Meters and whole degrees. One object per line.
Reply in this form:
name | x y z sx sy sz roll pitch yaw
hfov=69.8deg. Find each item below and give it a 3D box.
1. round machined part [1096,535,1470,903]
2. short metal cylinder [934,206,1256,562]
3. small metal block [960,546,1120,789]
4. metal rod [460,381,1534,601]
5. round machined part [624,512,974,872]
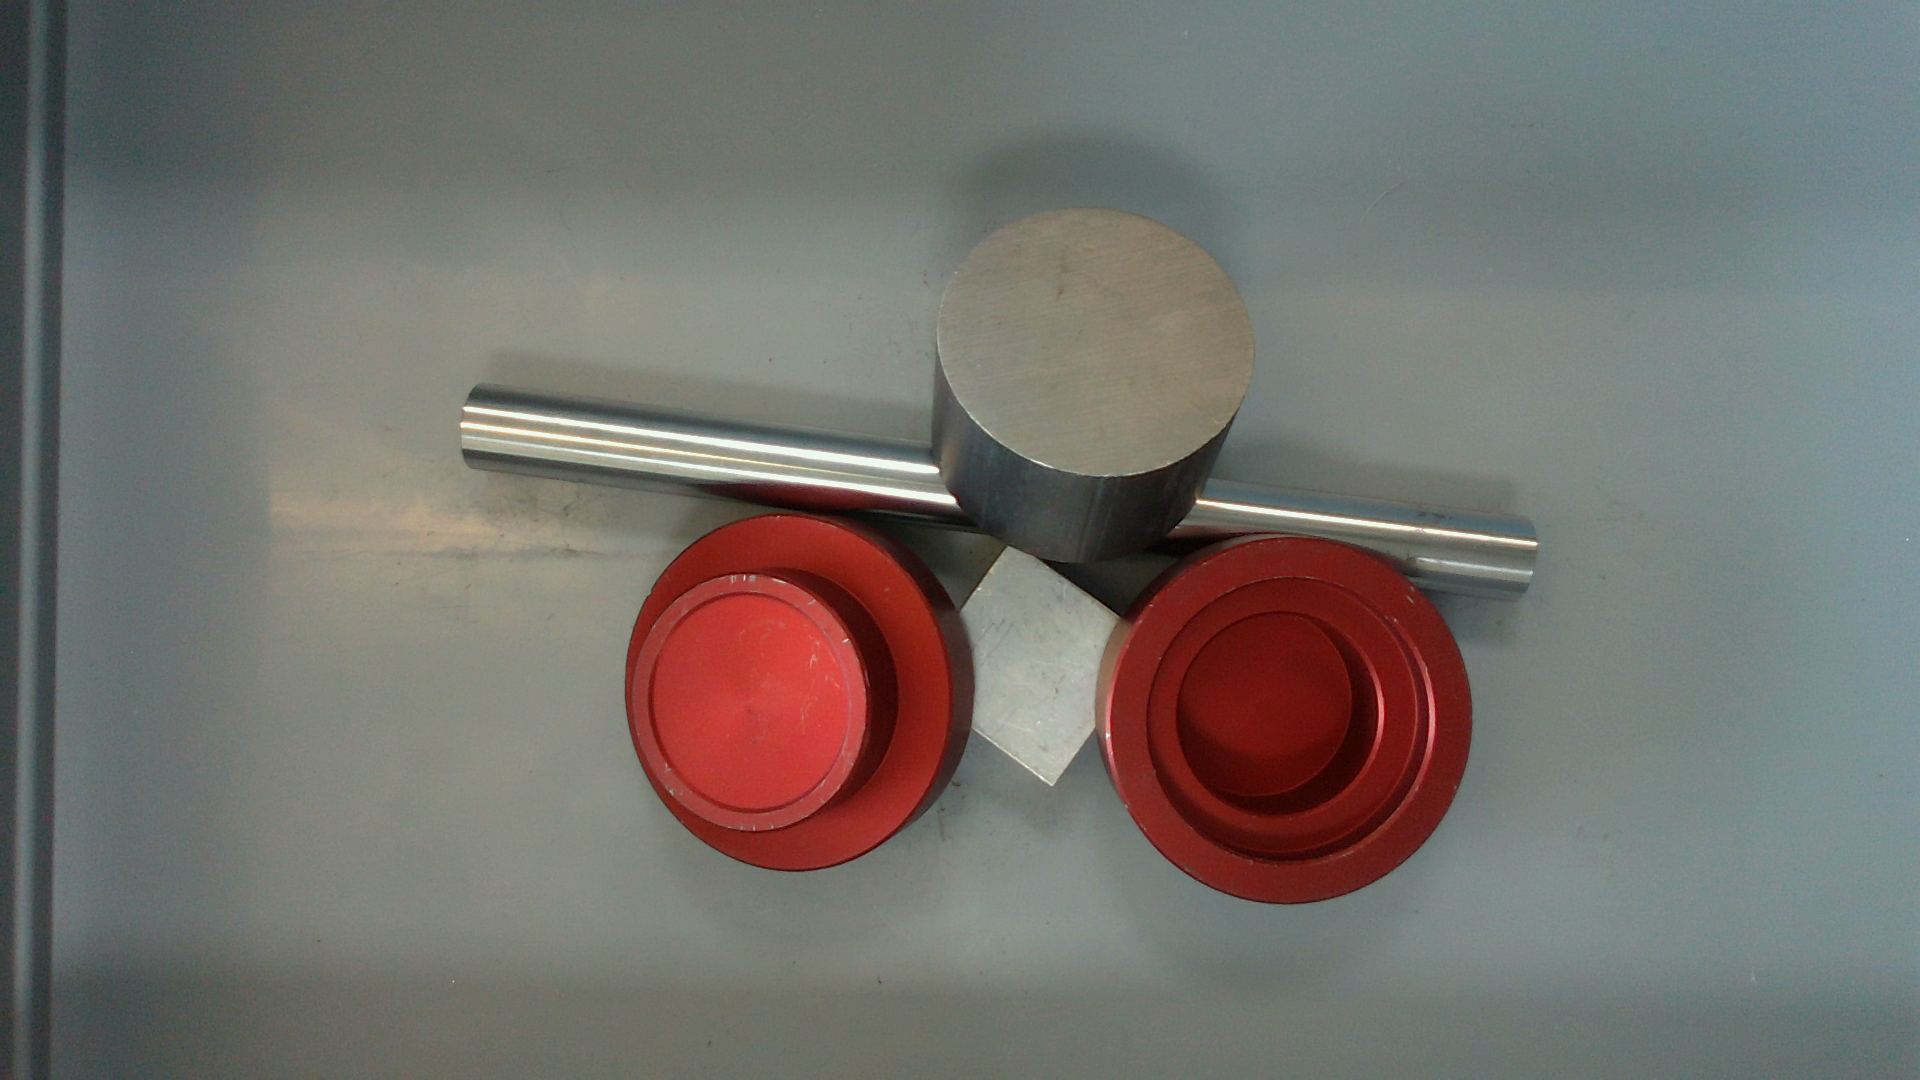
round machined part | 0.086 0.047 0.384 0.098 0.042 0.098 0 93 -3
short metal cylinder | 0.033 -0.041 0.367 0.080 0.050 0.080 1 65 -3
small metal block | 0.021 0.034 0.394 0.050 0.025 0.050 36 90 0
metal rod | 0.011 -0.014 0.394 0.300 0.025 0.025 7 90 0
round machined part | -0.049 0.042 0.373 0.098 0.042 0.098 0 91 18
